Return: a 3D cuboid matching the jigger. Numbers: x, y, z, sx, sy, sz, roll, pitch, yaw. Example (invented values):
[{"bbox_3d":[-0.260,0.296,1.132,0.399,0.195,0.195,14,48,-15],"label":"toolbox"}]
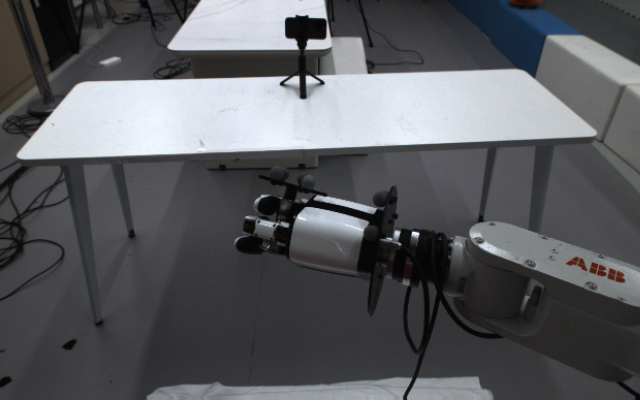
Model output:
[{"bbox_3d":[-0.047,0.031,0.611,0.043,0.071,0.043,17,2,-1],"label":"jigger"}]
